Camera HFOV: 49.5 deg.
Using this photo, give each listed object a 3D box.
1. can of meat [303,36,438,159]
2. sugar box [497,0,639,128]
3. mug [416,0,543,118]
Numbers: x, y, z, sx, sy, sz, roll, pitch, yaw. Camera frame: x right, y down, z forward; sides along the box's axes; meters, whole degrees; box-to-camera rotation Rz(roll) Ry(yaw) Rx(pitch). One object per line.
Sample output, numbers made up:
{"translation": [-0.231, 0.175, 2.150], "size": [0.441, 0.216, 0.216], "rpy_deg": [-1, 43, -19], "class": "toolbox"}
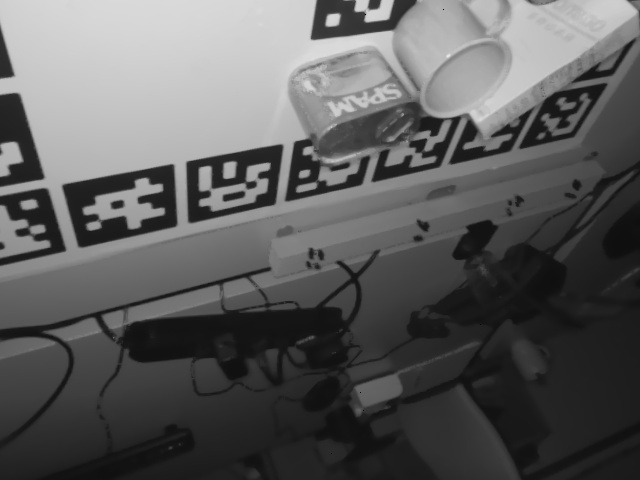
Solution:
{"translation": [0.043, -0.131, 0.629], "size": [0.102, 0.084, 0.057], "rpy_deg": [-18, 149, -10], "class": "can of meat"}
{"translation": [0.227, -0.194, 0.660], "size": [0.175, 0.093, 0.045], "rpy_deg": [-33, 149, 15], "class": "sugar box"}
{"translation": [0.144, -0.179, 0.617], "size": [0.095, 0.081, 0.115], "rpy_deg": [4, 136, -37], "class": "mug"}
